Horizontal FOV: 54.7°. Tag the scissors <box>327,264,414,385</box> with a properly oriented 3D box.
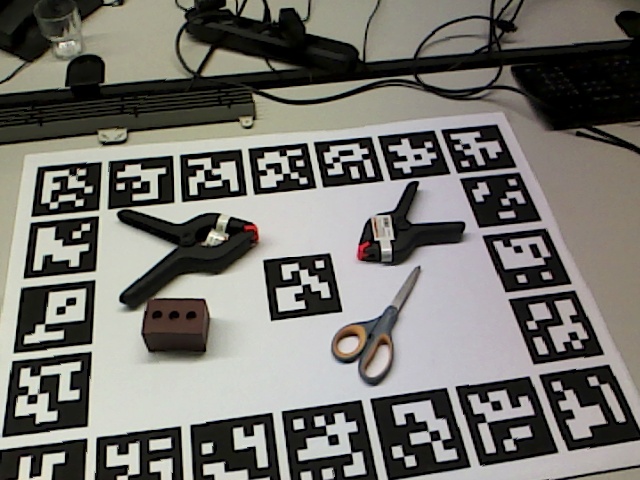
[{"bbox_3d":[0.086,0.105,0.870,0.088,0.016,0.202,30,58,9],"label":"scissors"}]

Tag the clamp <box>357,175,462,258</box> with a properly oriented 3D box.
[{"bbox_3d":[0.123,-0.023,0.956,0.164,0.036,0.122,-32,69,-21],"label":"clamp"}]

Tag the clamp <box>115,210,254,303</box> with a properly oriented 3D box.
[{"bbox_3d":[-0.199,0.007,0.922,0.202,0.036,0.166,-10,53,-9],"label":"clamp"}]

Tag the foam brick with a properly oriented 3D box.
[{"bbox_3d":[-0.193,0.117,0.839,0.078,0.051,0.053,-3,57,2],"label":"foam brick"}]
